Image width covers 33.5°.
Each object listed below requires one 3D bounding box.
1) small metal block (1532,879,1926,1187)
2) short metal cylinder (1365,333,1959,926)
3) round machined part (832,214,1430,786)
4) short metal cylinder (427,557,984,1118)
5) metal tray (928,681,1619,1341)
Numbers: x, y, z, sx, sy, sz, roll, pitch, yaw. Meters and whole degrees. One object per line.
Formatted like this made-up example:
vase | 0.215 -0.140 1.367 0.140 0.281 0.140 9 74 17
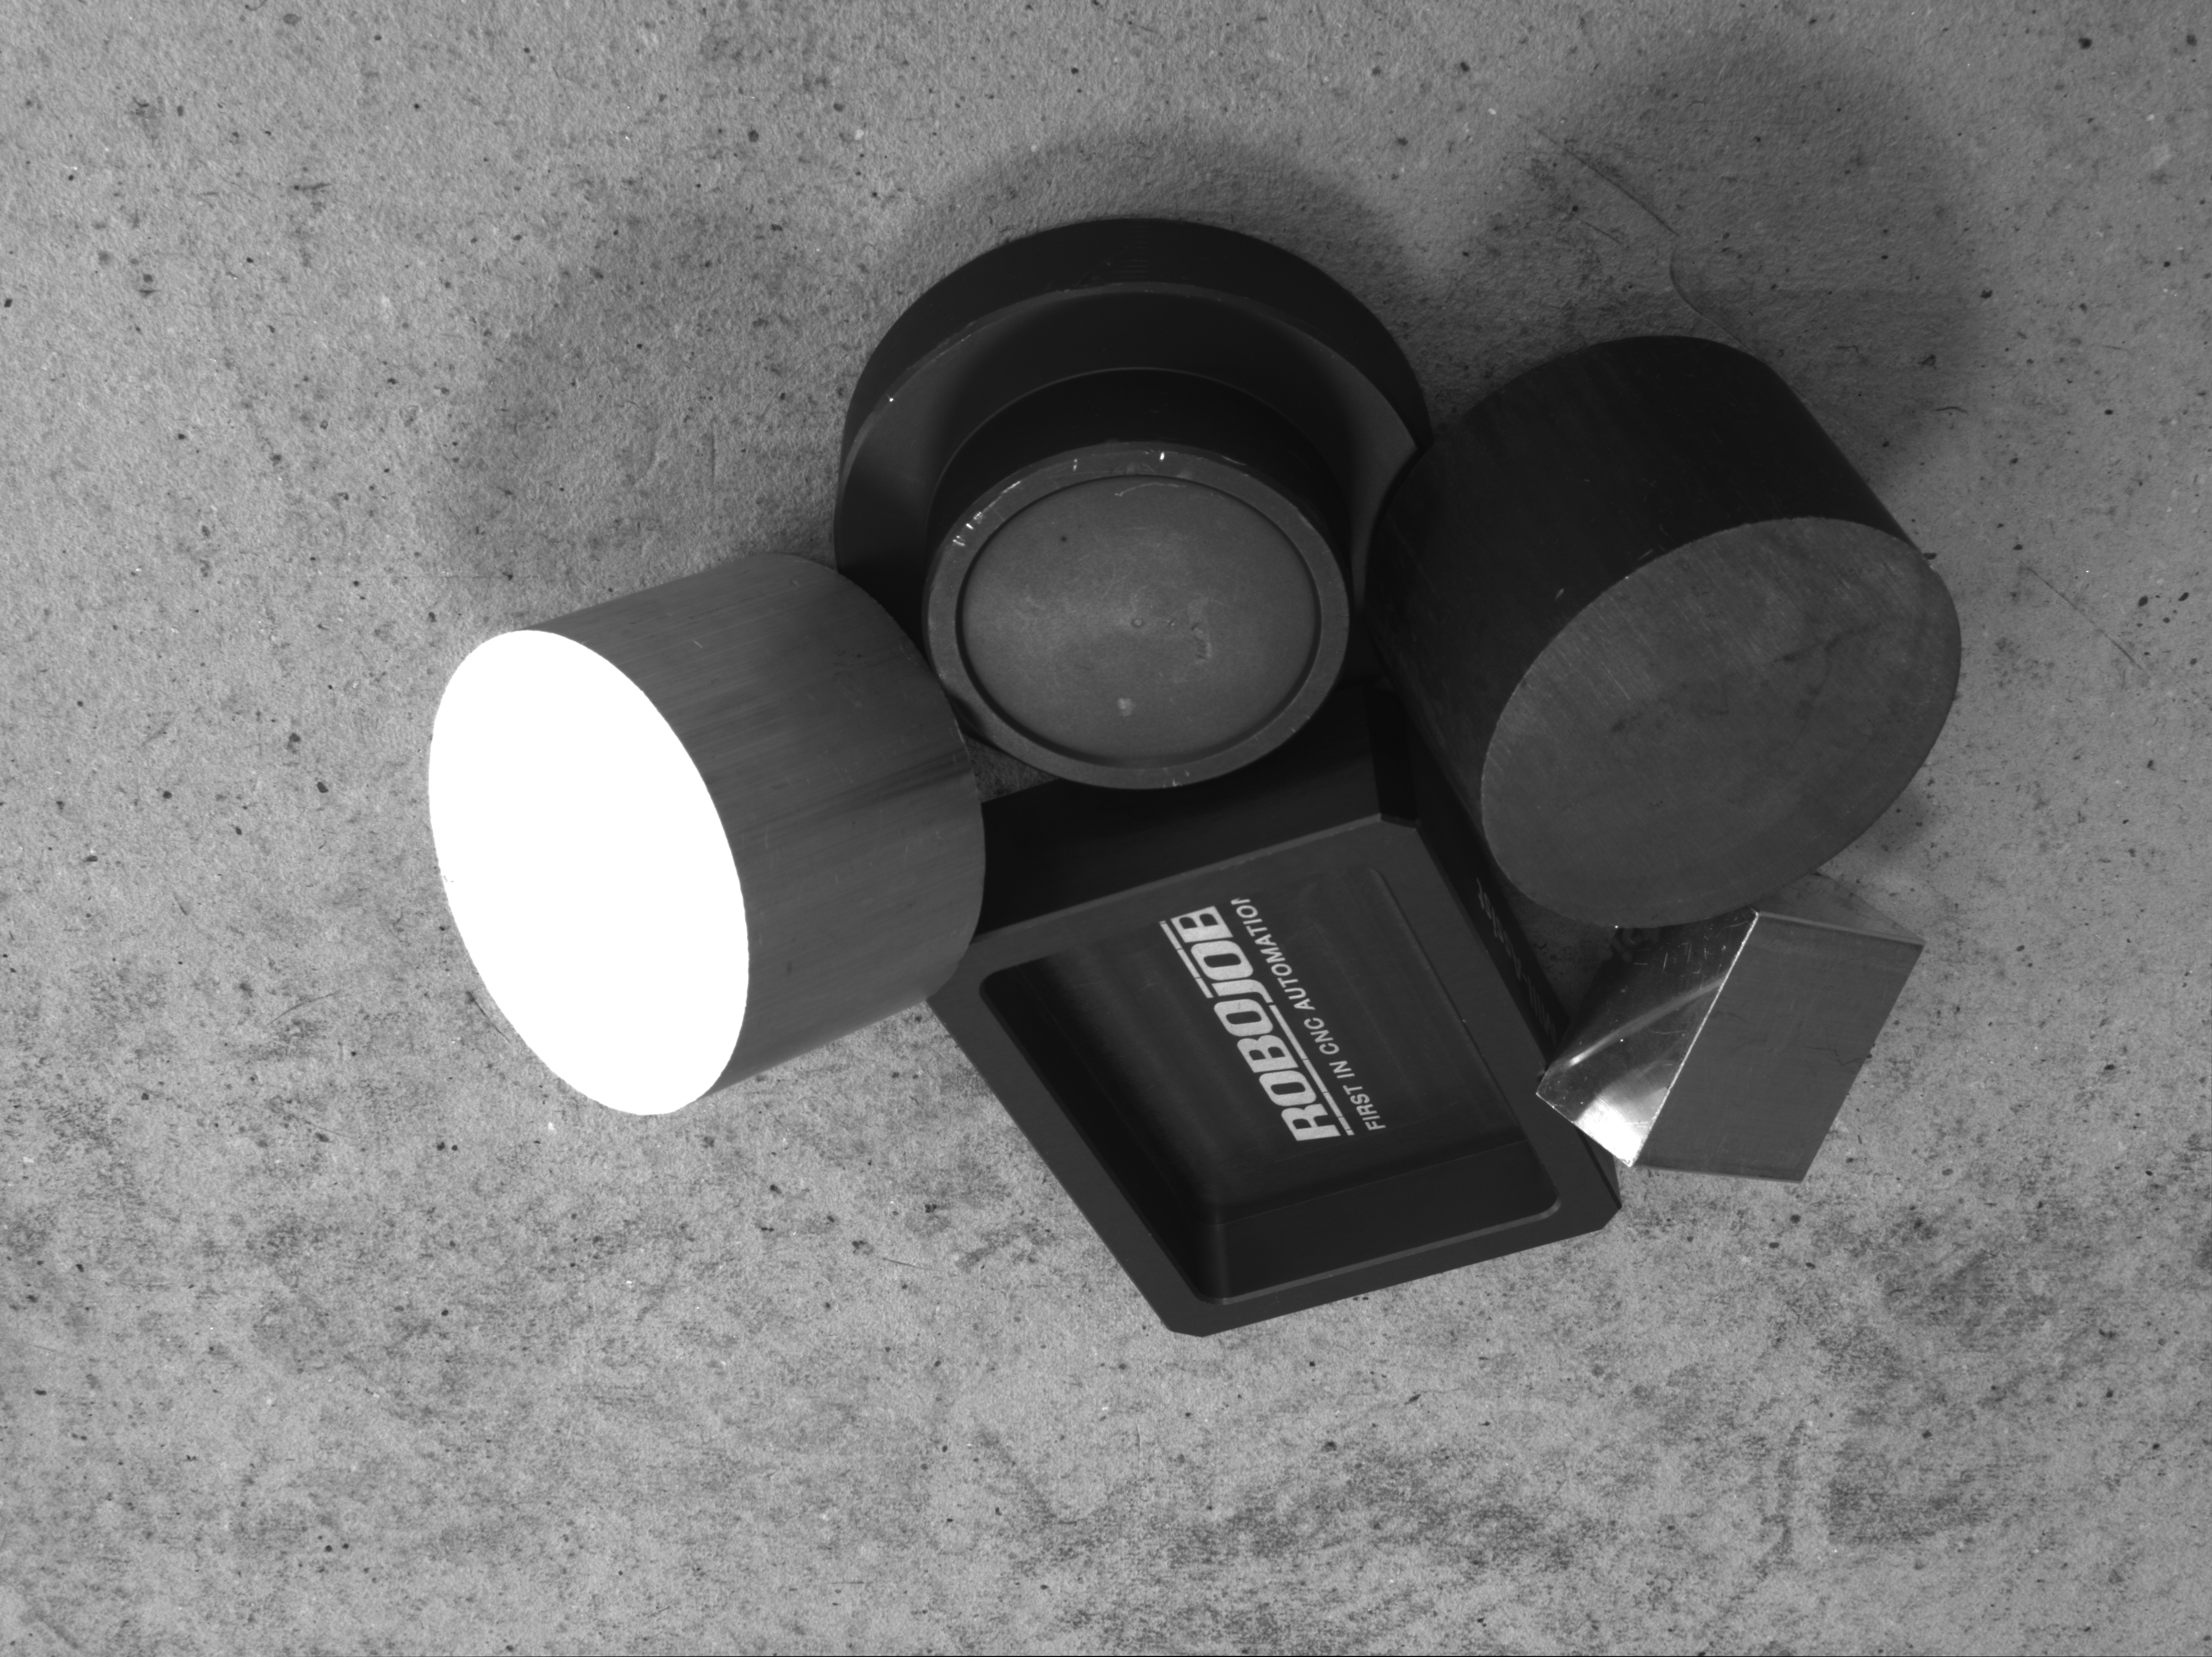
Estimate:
small metal block | 0.110 0.033 0.645 0.050 0.025 0.050 11 110 -44
short metal cylinder | 0.088 -0.031 0.584 0.080 0.050 0.080 -12 133 -13
round machined part | 0.005 -0.046 0.591 0.098 0.042 0.098 0 130 0
short metal cylinder | -0.066 0.001 0.596 0.050 0.080 0.080 -22 145 -41
metal tray | 0.030 0.037 0.653 0.090 0.030 0.130 -17 137 14
